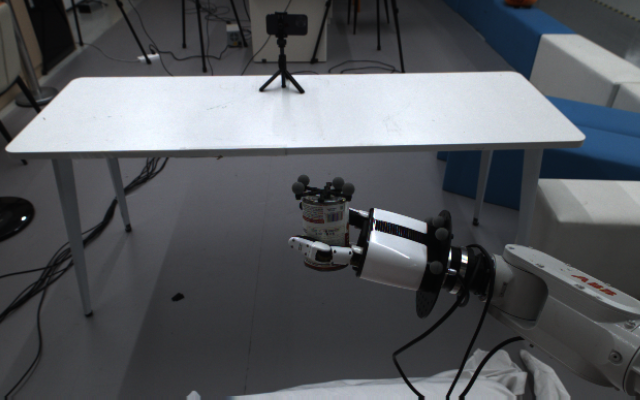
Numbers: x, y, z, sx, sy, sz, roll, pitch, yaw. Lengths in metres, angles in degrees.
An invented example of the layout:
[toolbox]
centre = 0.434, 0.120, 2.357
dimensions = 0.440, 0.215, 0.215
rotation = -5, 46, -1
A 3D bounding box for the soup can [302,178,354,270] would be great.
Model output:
[soup can]
centre = 0.010, 0.042, 0.689
dimensions = 0.067, 0.101, 0.067
rotation = -2, 17, 0
